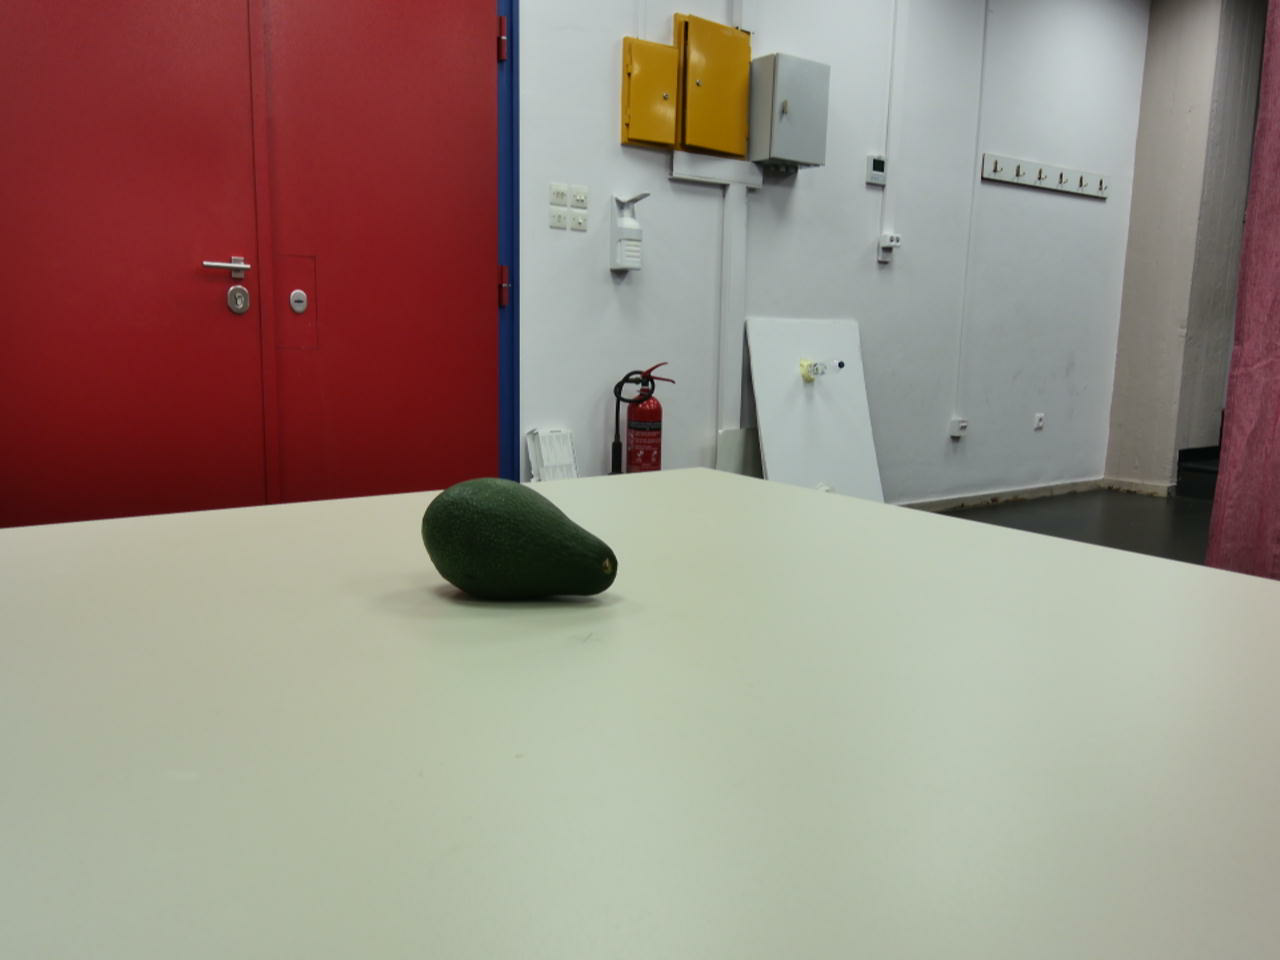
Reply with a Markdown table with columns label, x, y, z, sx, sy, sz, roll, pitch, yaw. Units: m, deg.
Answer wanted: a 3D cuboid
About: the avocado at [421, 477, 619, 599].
| label | x | y | z | sx | sy | sz | roll | pitch | yaw |
| --- | --- | --- | --- | --- | --- | --- | --- | --- | --- |
| avocado | -0.073 | 0.035 | 0.583 | 0.110 | 0.071 | 0.072 | 5 | 8 | 31 |
